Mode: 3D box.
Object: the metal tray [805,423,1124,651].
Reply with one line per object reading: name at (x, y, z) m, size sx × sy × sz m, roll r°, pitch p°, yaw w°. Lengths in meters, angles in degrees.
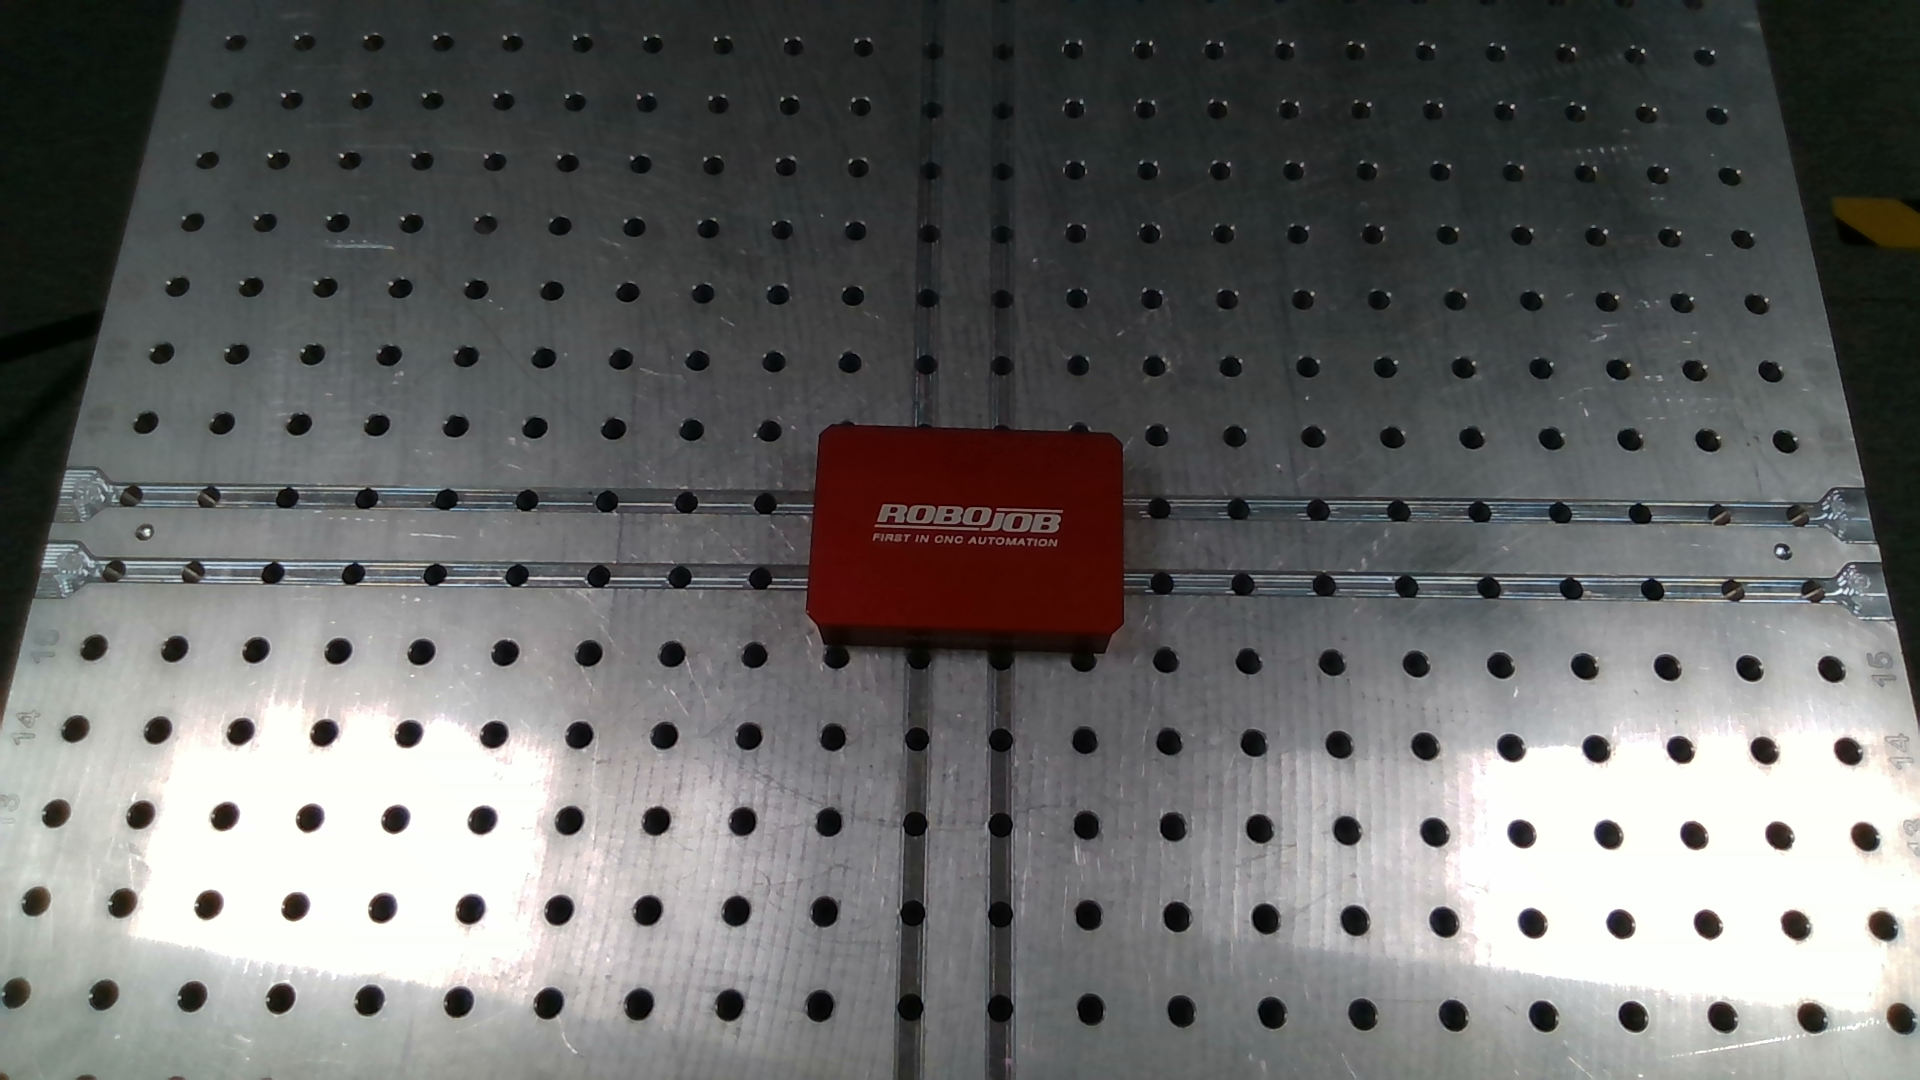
metal tray at (0.003, -0.001, 0.588) m, size 0.130 × 0.030 × 0.090 m, roll 2°, pitch 70°, yaw 1°
